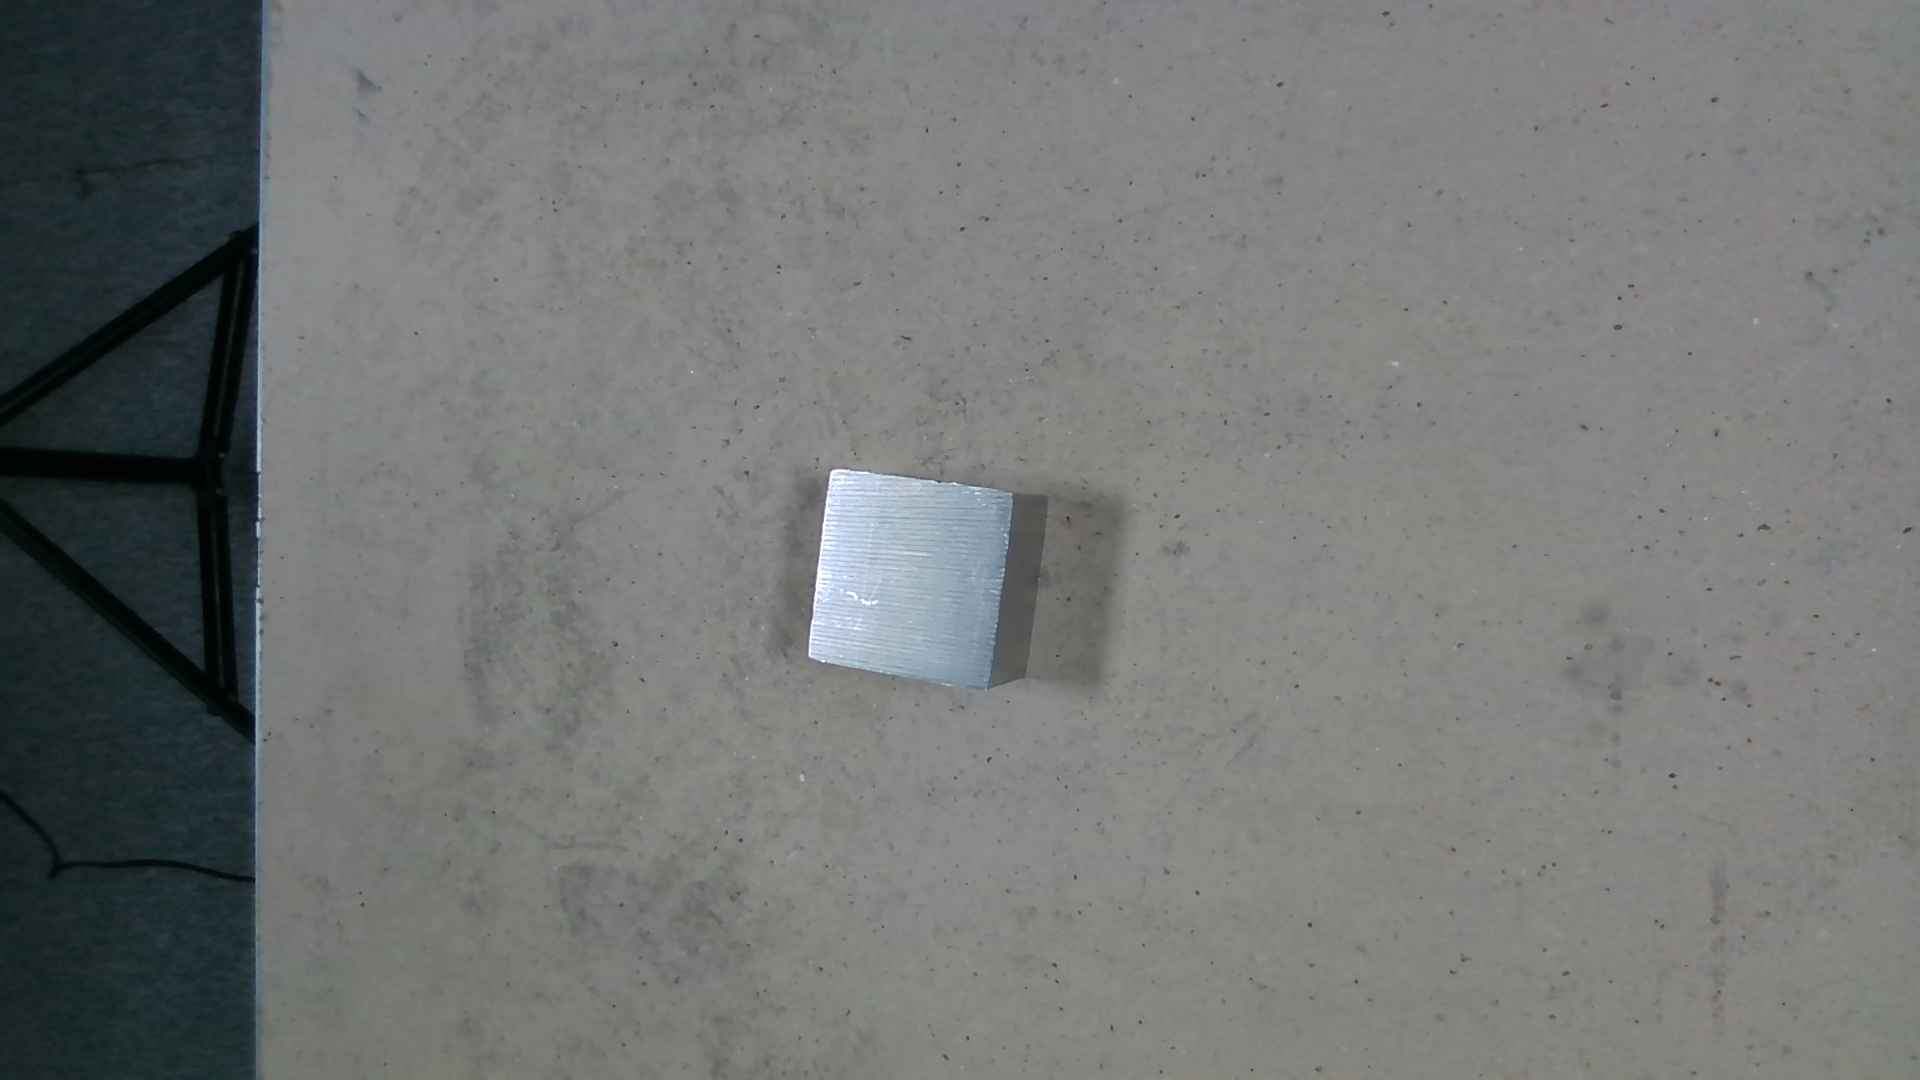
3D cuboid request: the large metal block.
[{"bbox_3d":[-0.013,0.015,0.577,0.080,0.050,0.080,8,93,20],"label":"large metal block"}]
